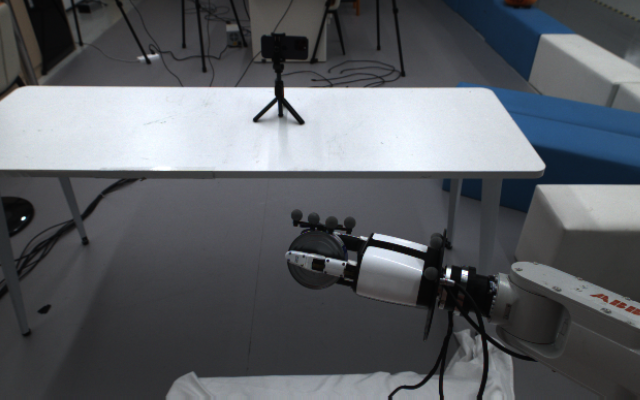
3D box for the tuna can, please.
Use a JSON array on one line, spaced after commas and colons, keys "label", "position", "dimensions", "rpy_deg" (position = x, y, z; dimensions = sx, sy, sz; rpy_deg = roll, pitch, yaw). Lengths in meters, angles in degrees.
[{"label": "tuna can", "position": [-0.002, 0.084, 0.705], "dimensions": [0.085, 0.085, 0.034], "rpy_deg": [11, 2, 13]}]
